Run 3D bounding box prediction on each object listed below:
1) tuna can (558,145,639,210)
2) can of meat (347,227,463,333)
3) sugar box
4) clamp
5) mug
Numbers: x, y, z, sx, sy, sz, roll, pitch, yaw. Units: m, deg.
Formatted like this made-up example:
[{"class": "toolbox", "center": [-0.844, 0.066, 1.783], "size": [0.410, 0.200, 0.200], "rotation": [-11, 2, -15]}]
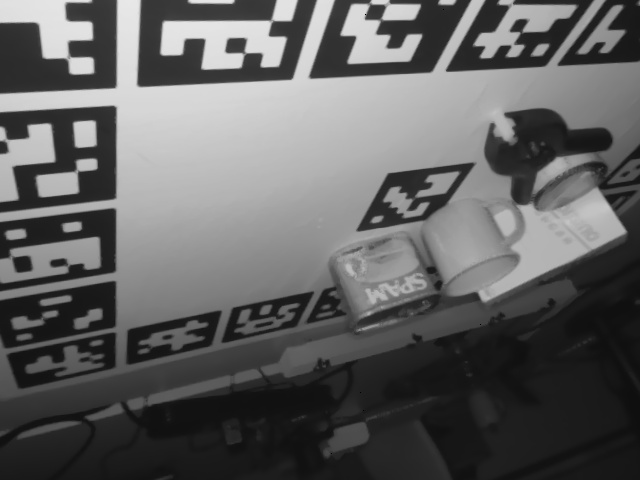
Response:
[{"class": "tuna can", "center": [0.289, -0.071, 0.716], "size": [0.086, 0.034, 0.085], "rotation": [-16, 147, -10]}, {"class": "can of meat", "center": [0.087, 0.041, 0.732], "size": [0.103, 0.084, 0.057], "rotation": [-12, 149, -13]}, {"class": "sugar box", "center": [0.275, -0.002, 0.771], "size": [0.175, 0.093, 0.045], "rotation": [-27, 150, 12]}, {"class": "clamp", "center": [0.225, -0.097, 0.648], "size": [0.120, 0.037, 0.167], "rotation": [-35, 143, 29]}, {"class": "mug", "center": [0.193, 0.004, 0.724], "size": [0.094, 0.081, 0.115], "rotation": [10, 135, -40]}]
